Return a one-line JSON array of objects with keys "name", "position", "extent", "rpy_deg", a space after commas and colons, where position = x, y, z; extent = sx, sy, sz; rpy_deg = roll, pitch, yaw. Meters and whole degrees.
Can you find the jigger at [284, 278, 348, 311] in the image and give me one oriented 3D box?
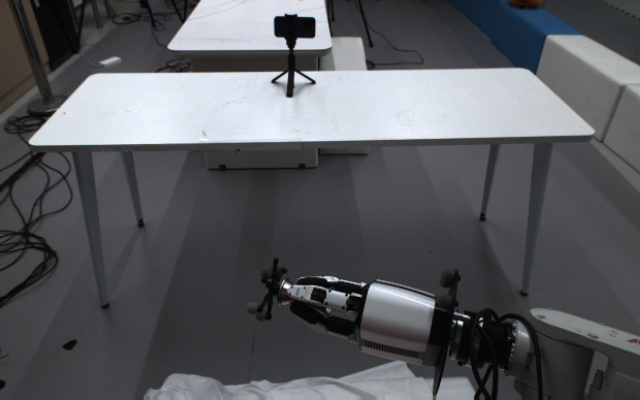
[{"name": "jigger", "position": [-0.012, 0.128, 0.655], "extent": [0.071, 0.043, 0.043], "rpy_deg": [9, 35, 16]}]
